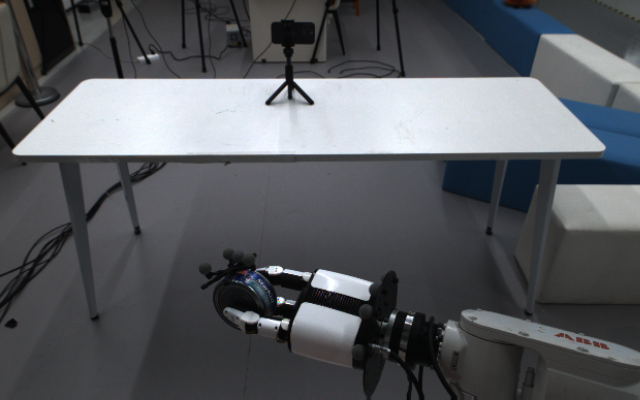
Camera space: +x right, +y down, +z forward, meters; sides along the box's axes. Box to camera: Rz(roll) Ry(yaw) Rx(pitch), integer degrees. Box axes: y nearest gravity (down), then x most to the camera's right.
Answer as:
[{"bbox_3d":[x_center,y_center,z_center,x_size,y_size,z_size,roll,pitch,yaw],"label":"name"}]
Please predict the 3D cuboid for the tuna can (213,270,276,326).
[{"bbox_3d":[-0.101,0.144,0.668,0.085,0.085,0.034,15,30,17],"label":"tuna can"}]
